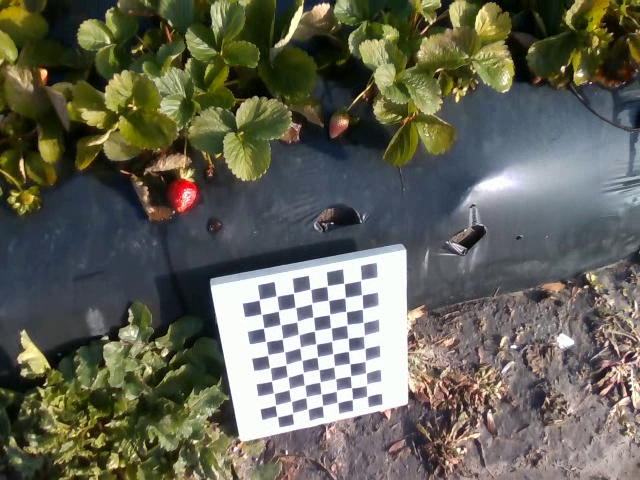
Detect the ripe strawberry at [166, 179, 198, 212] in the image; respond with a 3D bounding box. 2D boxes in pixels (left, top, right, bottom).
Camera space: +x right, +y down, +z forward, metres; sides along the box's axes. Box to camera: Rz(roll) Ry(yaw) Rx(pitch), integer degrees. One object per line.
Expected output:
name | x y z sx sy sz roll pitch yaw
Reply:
ripe strawberry | -0.159 -0.044 0.874 0.046 0.054 0.037 9 -21 -20
